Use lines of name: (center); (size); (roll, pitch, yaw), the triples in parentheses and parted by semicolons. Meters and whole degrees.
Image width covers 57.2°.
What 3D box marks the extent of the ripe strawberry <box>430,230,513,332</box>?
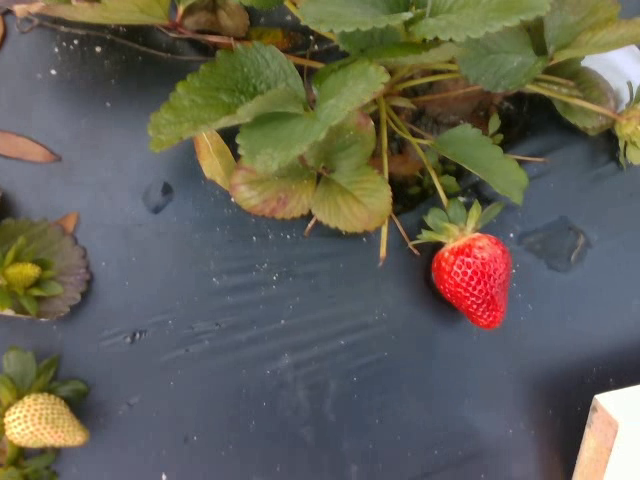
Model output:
ripe strawberry: (0.066, 0.016, 0.239); (0.036, 0.046, 0.040); (-16, -19, 8)
